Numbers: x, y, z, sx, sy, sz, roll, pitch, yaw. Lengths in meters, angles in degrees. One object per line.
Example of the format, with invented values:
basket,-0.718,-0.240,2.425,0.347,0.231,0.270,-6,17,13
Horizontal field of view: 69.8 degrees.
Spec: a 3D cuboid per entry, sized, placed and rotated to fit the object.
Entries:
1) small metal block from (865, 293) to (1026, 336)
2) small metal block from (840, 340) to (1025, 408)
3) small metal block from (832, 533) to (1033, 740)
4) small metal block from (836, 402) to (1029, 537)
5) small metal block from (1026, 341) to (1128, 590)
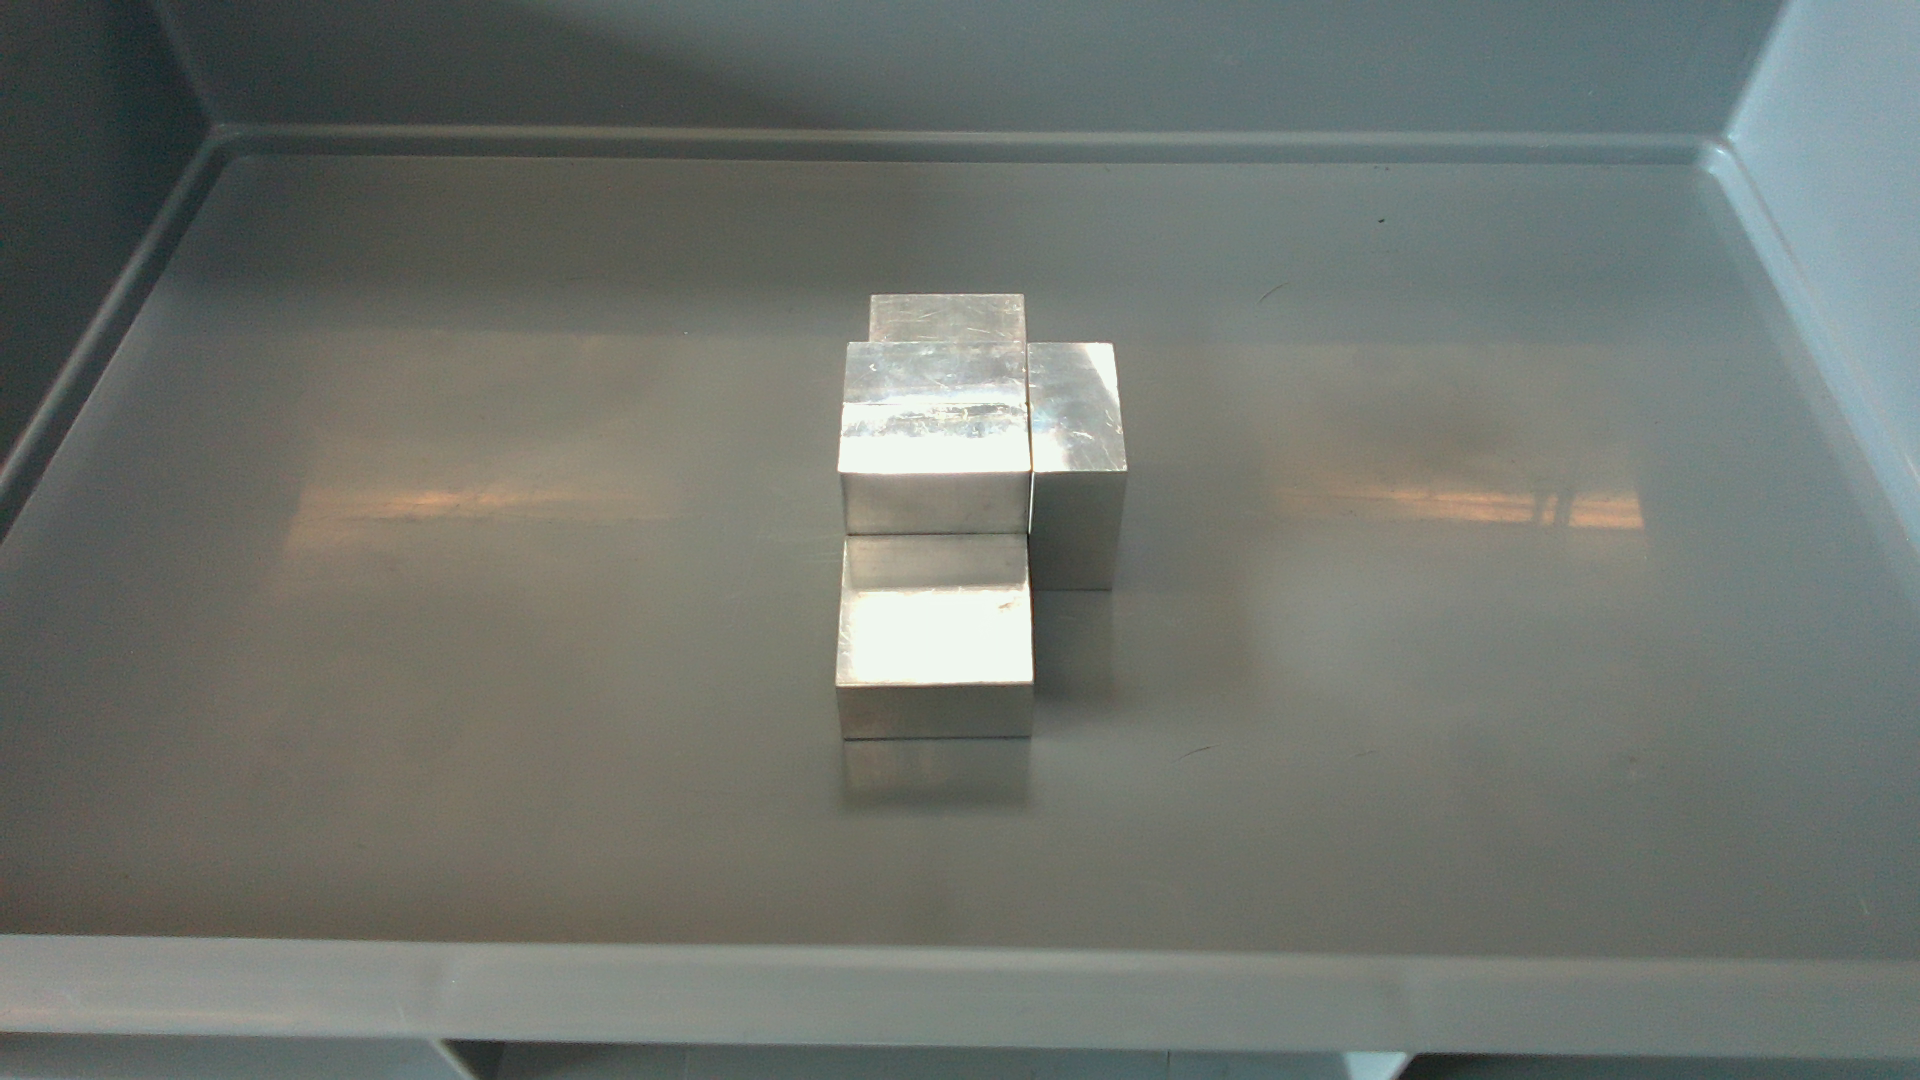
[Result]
small metal block,-0.005,-0.052,0.433,0.050,0.025,0.050,0,50,0
small metal block,-0.007,-0.031,0.399,0.050,0.050,0.025,0,50,0
small metal block,-0.007,0.025,0.368,0.050,0.025,0.050,0,50,0
small metal block,-0.007,-0.012,0.383,0.050,0.050,0.025,0,50,0
small metal block,0.031,-0.021,0.391,0.025,0.050,0.050,0,50,0
